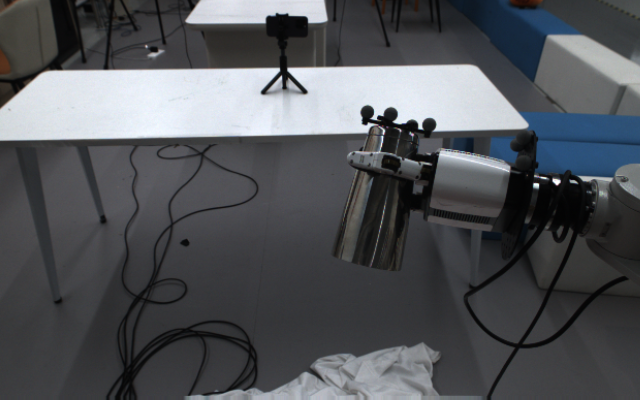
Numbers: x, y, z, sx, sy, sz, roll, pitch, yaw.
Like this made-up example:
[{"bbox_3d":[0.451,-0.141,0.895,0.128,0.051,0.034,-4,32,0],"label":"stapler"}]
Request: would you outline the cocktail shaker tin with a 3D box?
[{"bbox_3d":[0.080,-0.006,0.621,0.093,0.170,0.093,13,1,0],"label":"cocktail shaker tin"}]
